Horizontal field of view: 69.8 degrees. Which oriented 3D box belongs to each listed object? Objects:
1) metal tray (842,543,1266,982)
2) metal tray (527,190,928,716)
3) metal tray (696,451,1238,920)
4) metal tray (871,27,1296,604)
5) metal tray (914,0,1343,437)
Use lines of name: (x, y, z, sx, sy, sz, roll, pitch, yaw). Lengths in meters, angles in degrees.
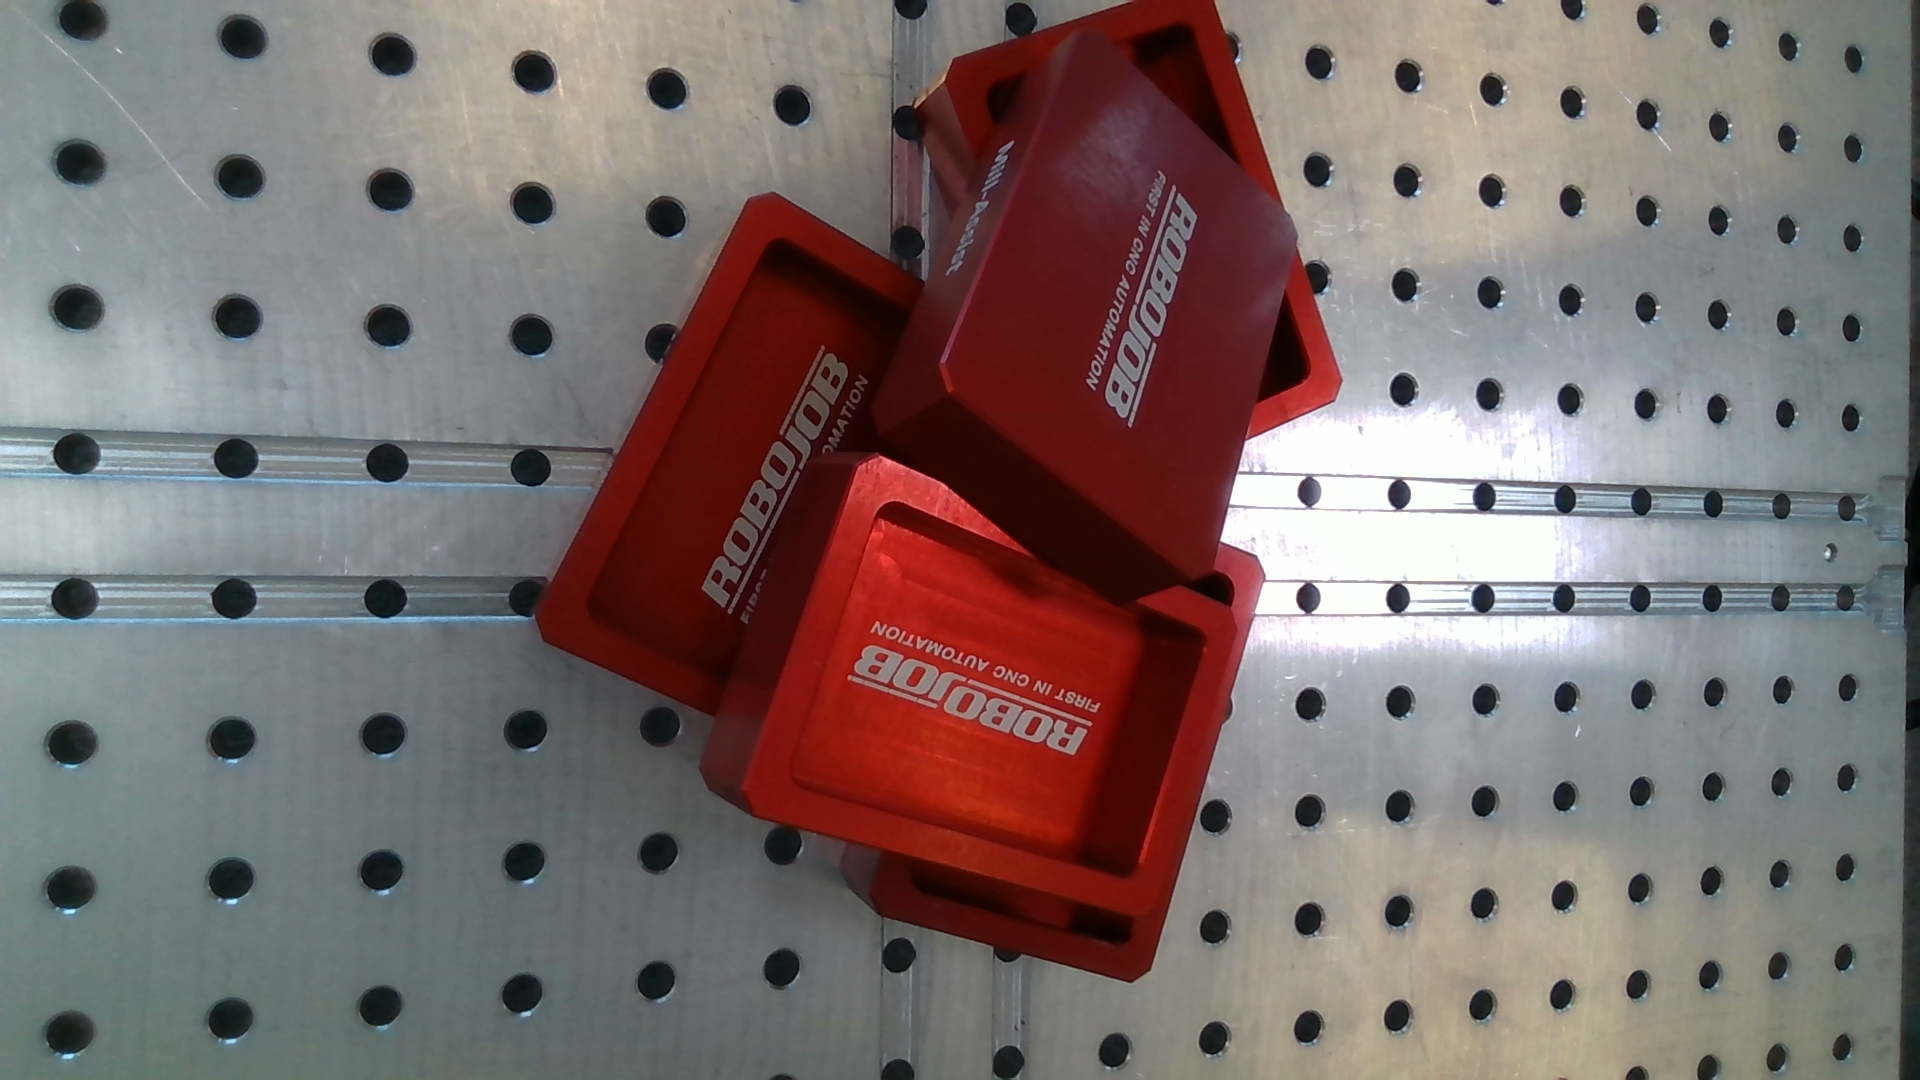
metal tray: (0.029, 0.053, 0.403, 0.090, 0.030, 0.130, 20, 82, -19)
metal tray: (-0.048, -0.016, 0.376, 0.090, 0.030, 0.130, 28, 81, -18)
metal tray: (0.007, 0.041, 0.363, 0.130, 0.030, 0.090, 23, 82, -30)
metal tray: (0.039, -0.060, 0.364, 0.090, 0.030, 0.130, 35, 56, -24)
metal tray: (0.052, -0.088, 0.412, 0.090, 0.030, 0.130, -24, 98, -19)
